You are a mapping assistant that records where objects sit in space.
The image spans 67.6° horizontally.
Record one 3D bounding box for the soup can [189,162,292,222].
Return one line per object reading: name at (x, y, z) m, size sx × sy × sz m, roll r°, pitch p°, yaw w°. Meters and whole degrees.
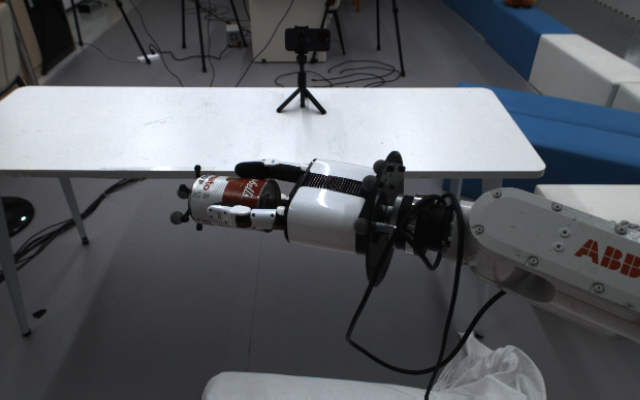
soup can at (-0.108, 0.005, 0.629) m, size 0.101 × 0.067 × 0.067 m, roll 6°, pitch 34°, yaw 18°
